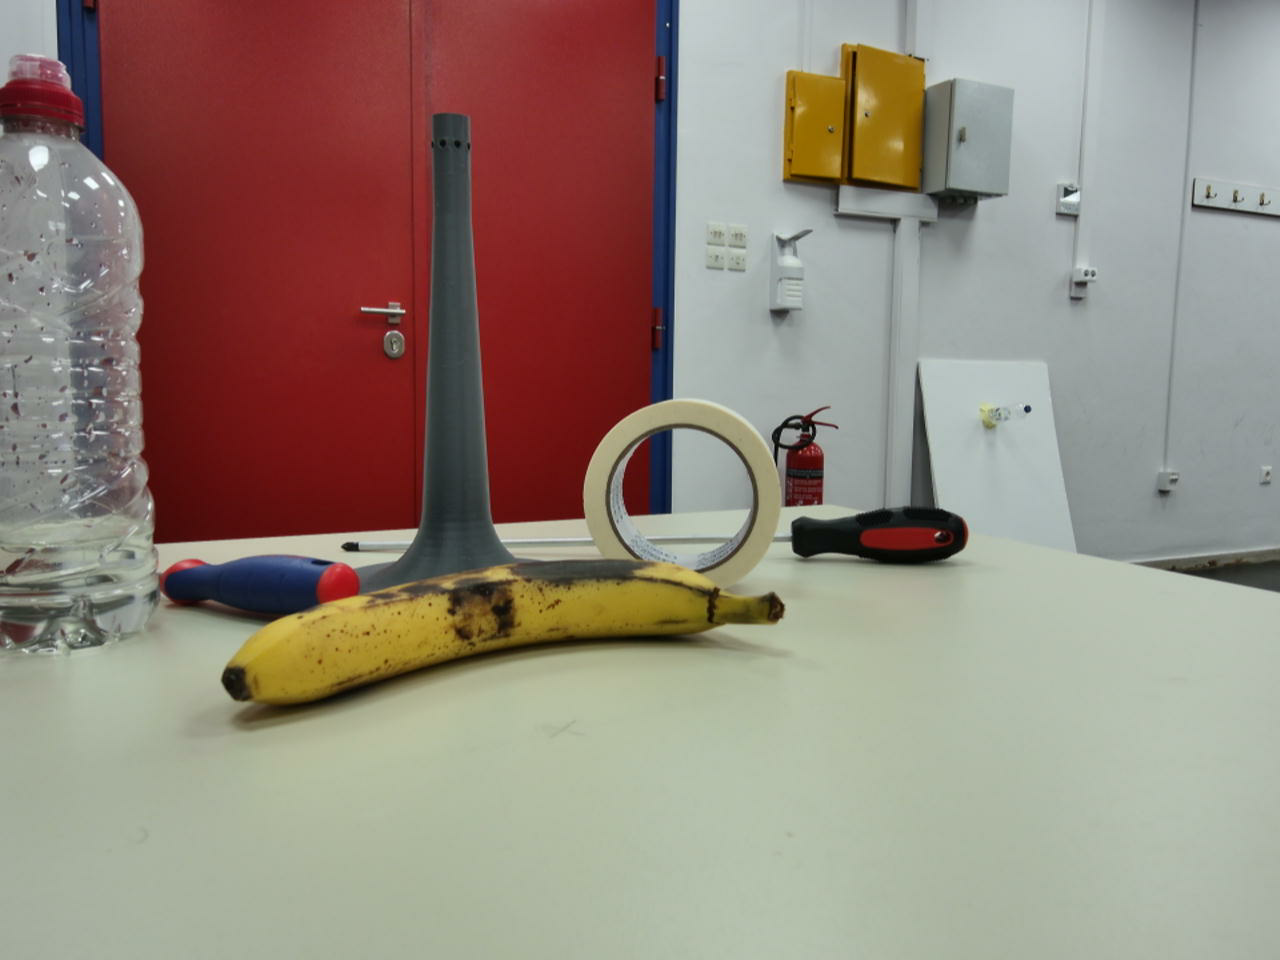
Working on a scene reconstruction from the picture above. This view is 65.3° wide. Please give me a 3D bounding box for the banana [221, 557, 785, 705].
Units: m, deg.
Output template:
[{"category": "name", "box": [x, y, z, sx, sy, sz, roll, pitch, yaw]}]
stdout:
[{"category": "banana", "box": [-0.054, 0.057, 0.411, 0.222, 0.037, 0.084, -2, 4, -26]}]
